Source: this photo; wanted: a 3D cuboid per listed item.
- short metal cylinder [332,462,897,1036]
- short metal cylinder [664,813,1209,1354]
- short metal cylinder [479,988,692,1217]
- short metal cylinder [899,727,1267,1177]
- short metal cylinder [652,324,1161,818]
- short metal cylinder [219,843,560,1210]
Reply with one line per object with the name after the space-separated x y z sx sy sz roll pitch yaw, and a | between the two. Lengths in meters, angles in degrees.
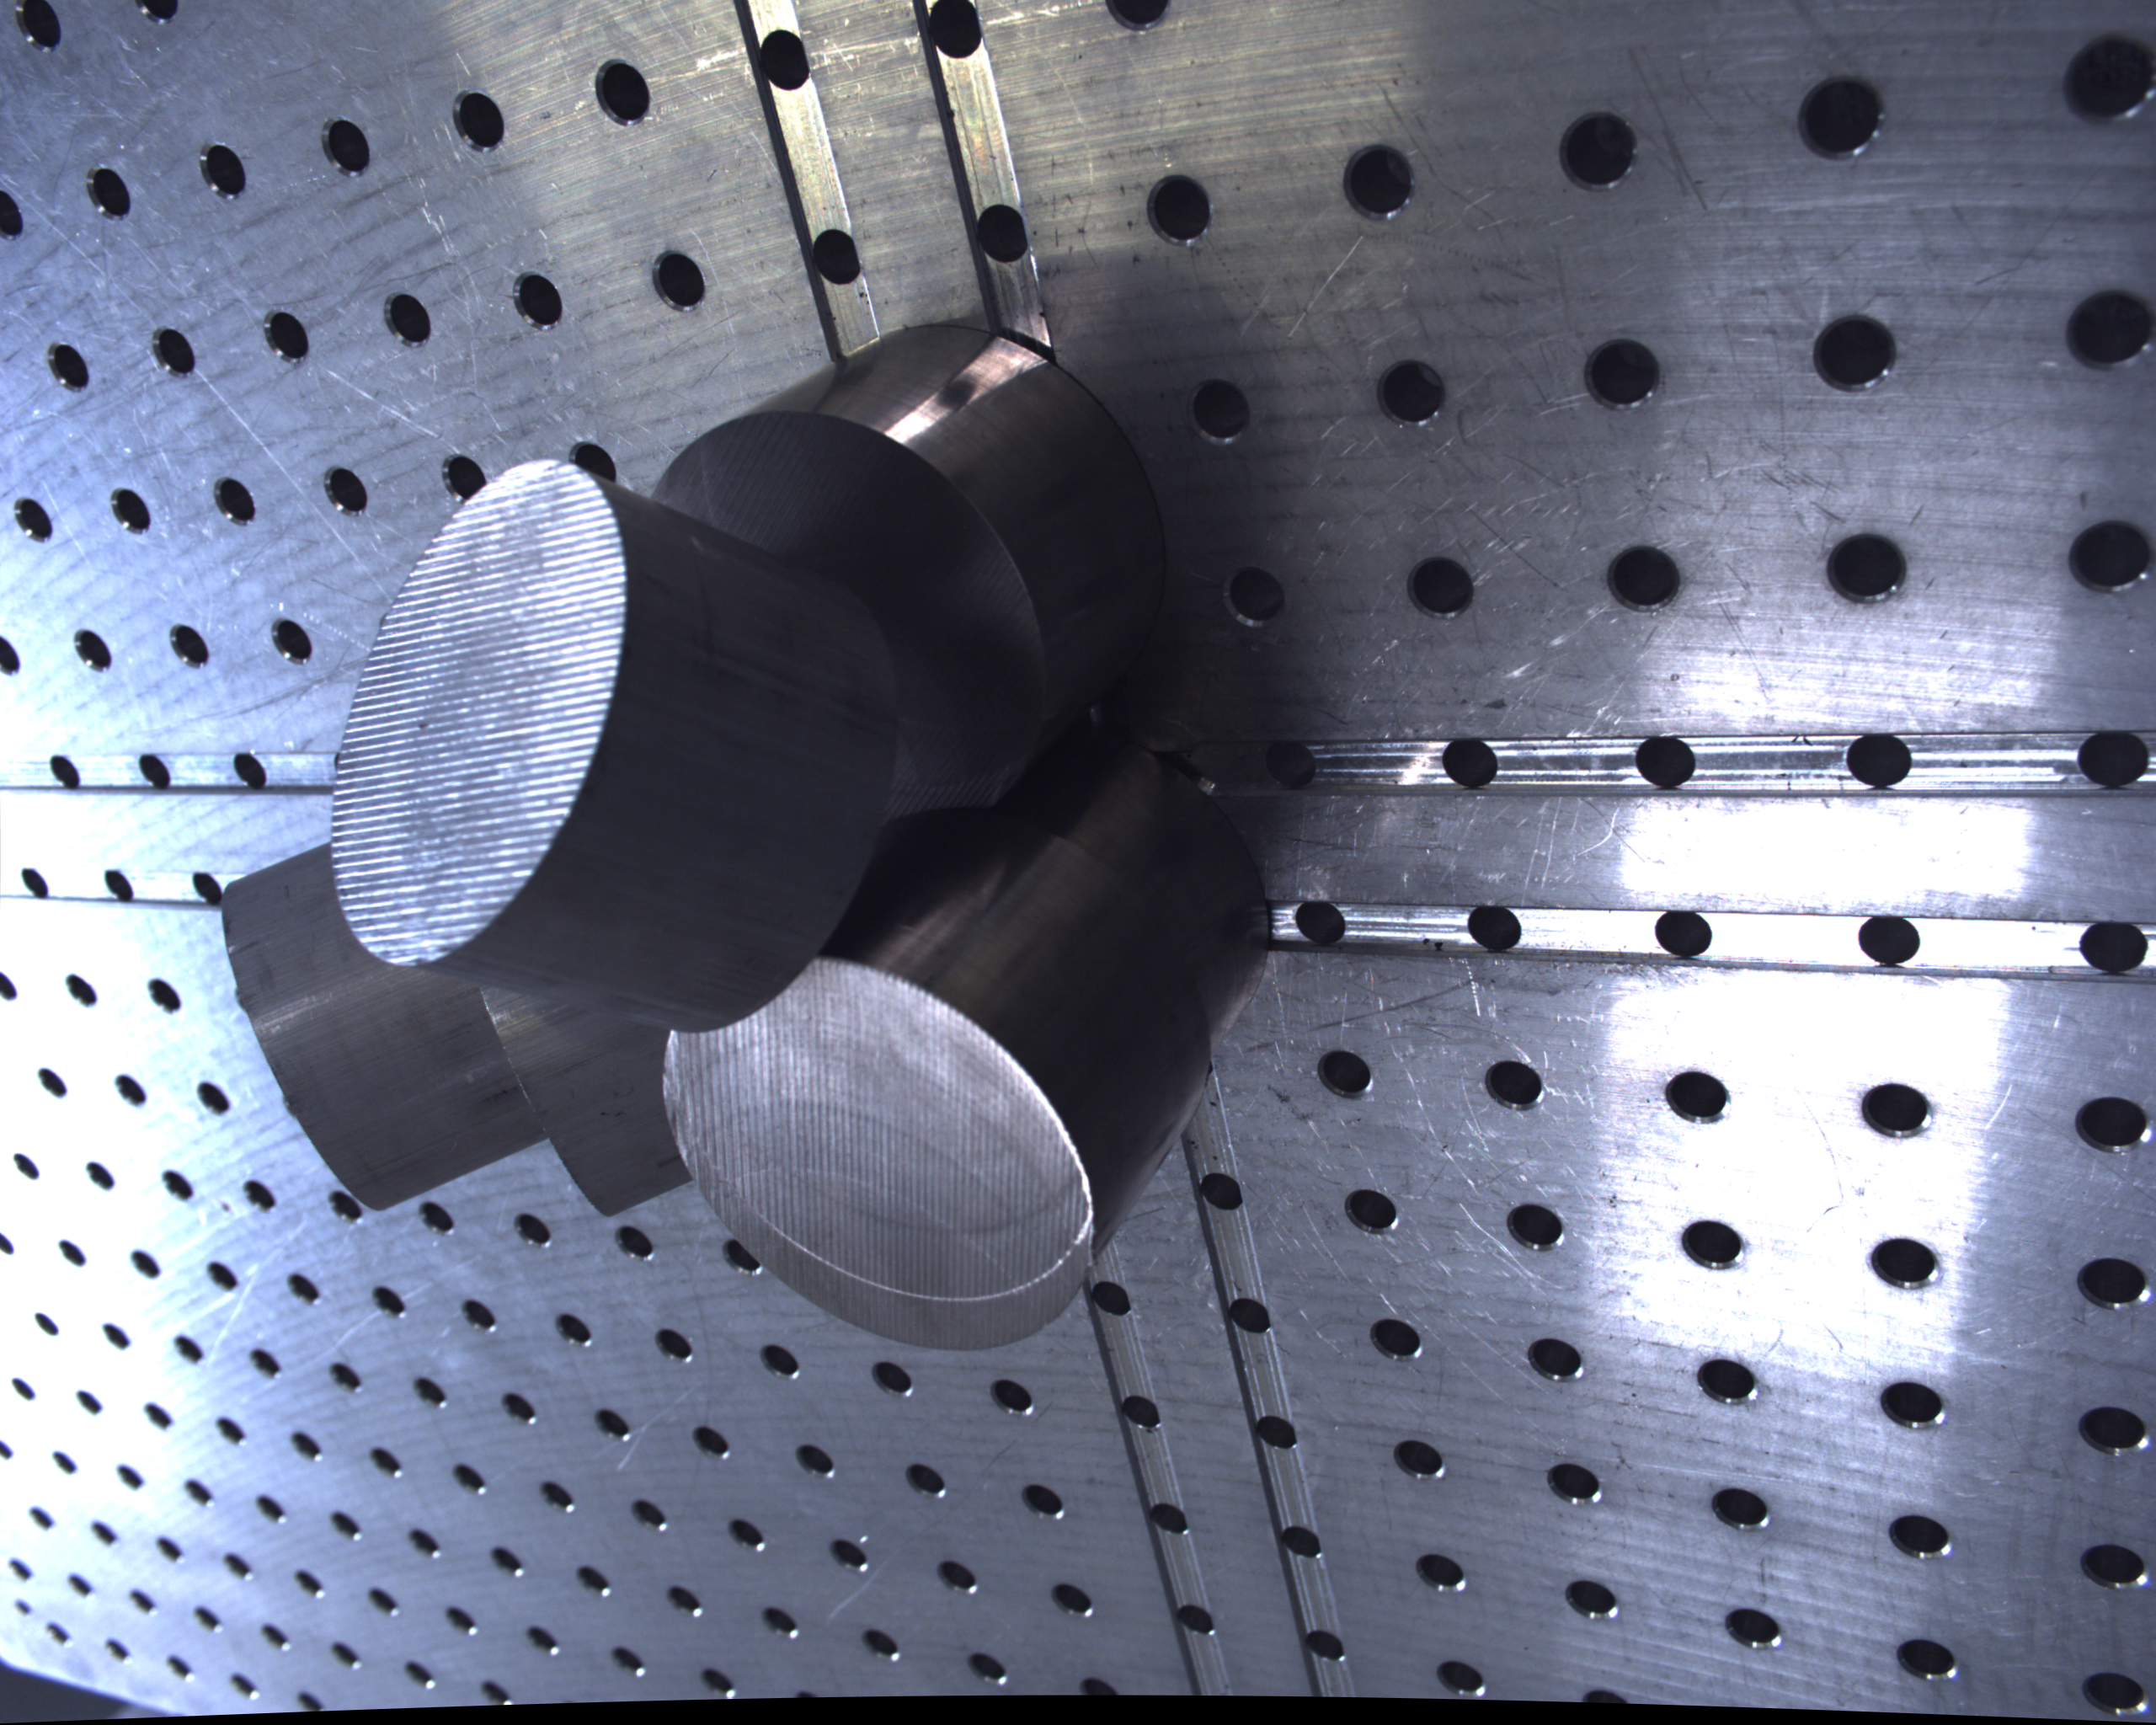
-0.074 -0.017 0.331 0.080 0.080 0.050 -26 147 37 | short metal cylinder
-0.024 0.038 0.364 0.080 0.050 0.079 13 124 21 | short metal cylinder
-0.088 0.026 0.429 0.050 0.080 0.080 -24 111 -7 | short metal cylinder
-0.009 0.019 0.411 0.080 0.050 0.079 13 124 21 | short metal cylinder
-0.032 -0.052 0.379 0.080 0.050 0.079 13 124 21 | short metal cylinder
-0.147 0.030 0.463 0.050 0.080 0.080 -24 111 -8 | short metal cylinder
